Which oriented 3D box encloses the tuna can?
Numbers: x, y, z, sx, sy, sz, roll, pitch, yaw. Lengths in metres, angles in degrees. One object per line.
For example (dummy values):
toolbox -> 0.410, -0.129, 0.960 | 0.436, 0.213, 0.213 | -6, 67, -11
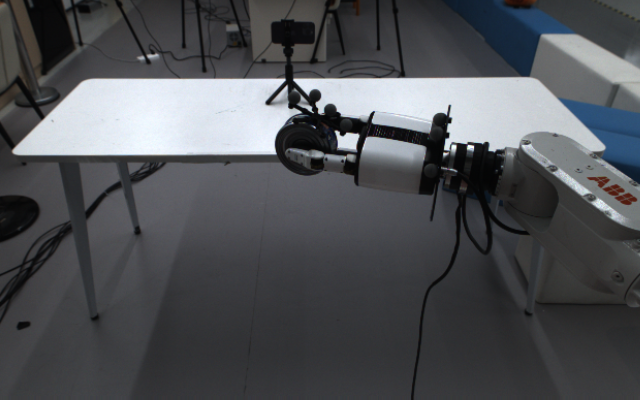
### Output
tuna can -> -0.020, -0.079, 0.692 | 0.085, 0.085, 0.034 | 12, 35, 14
